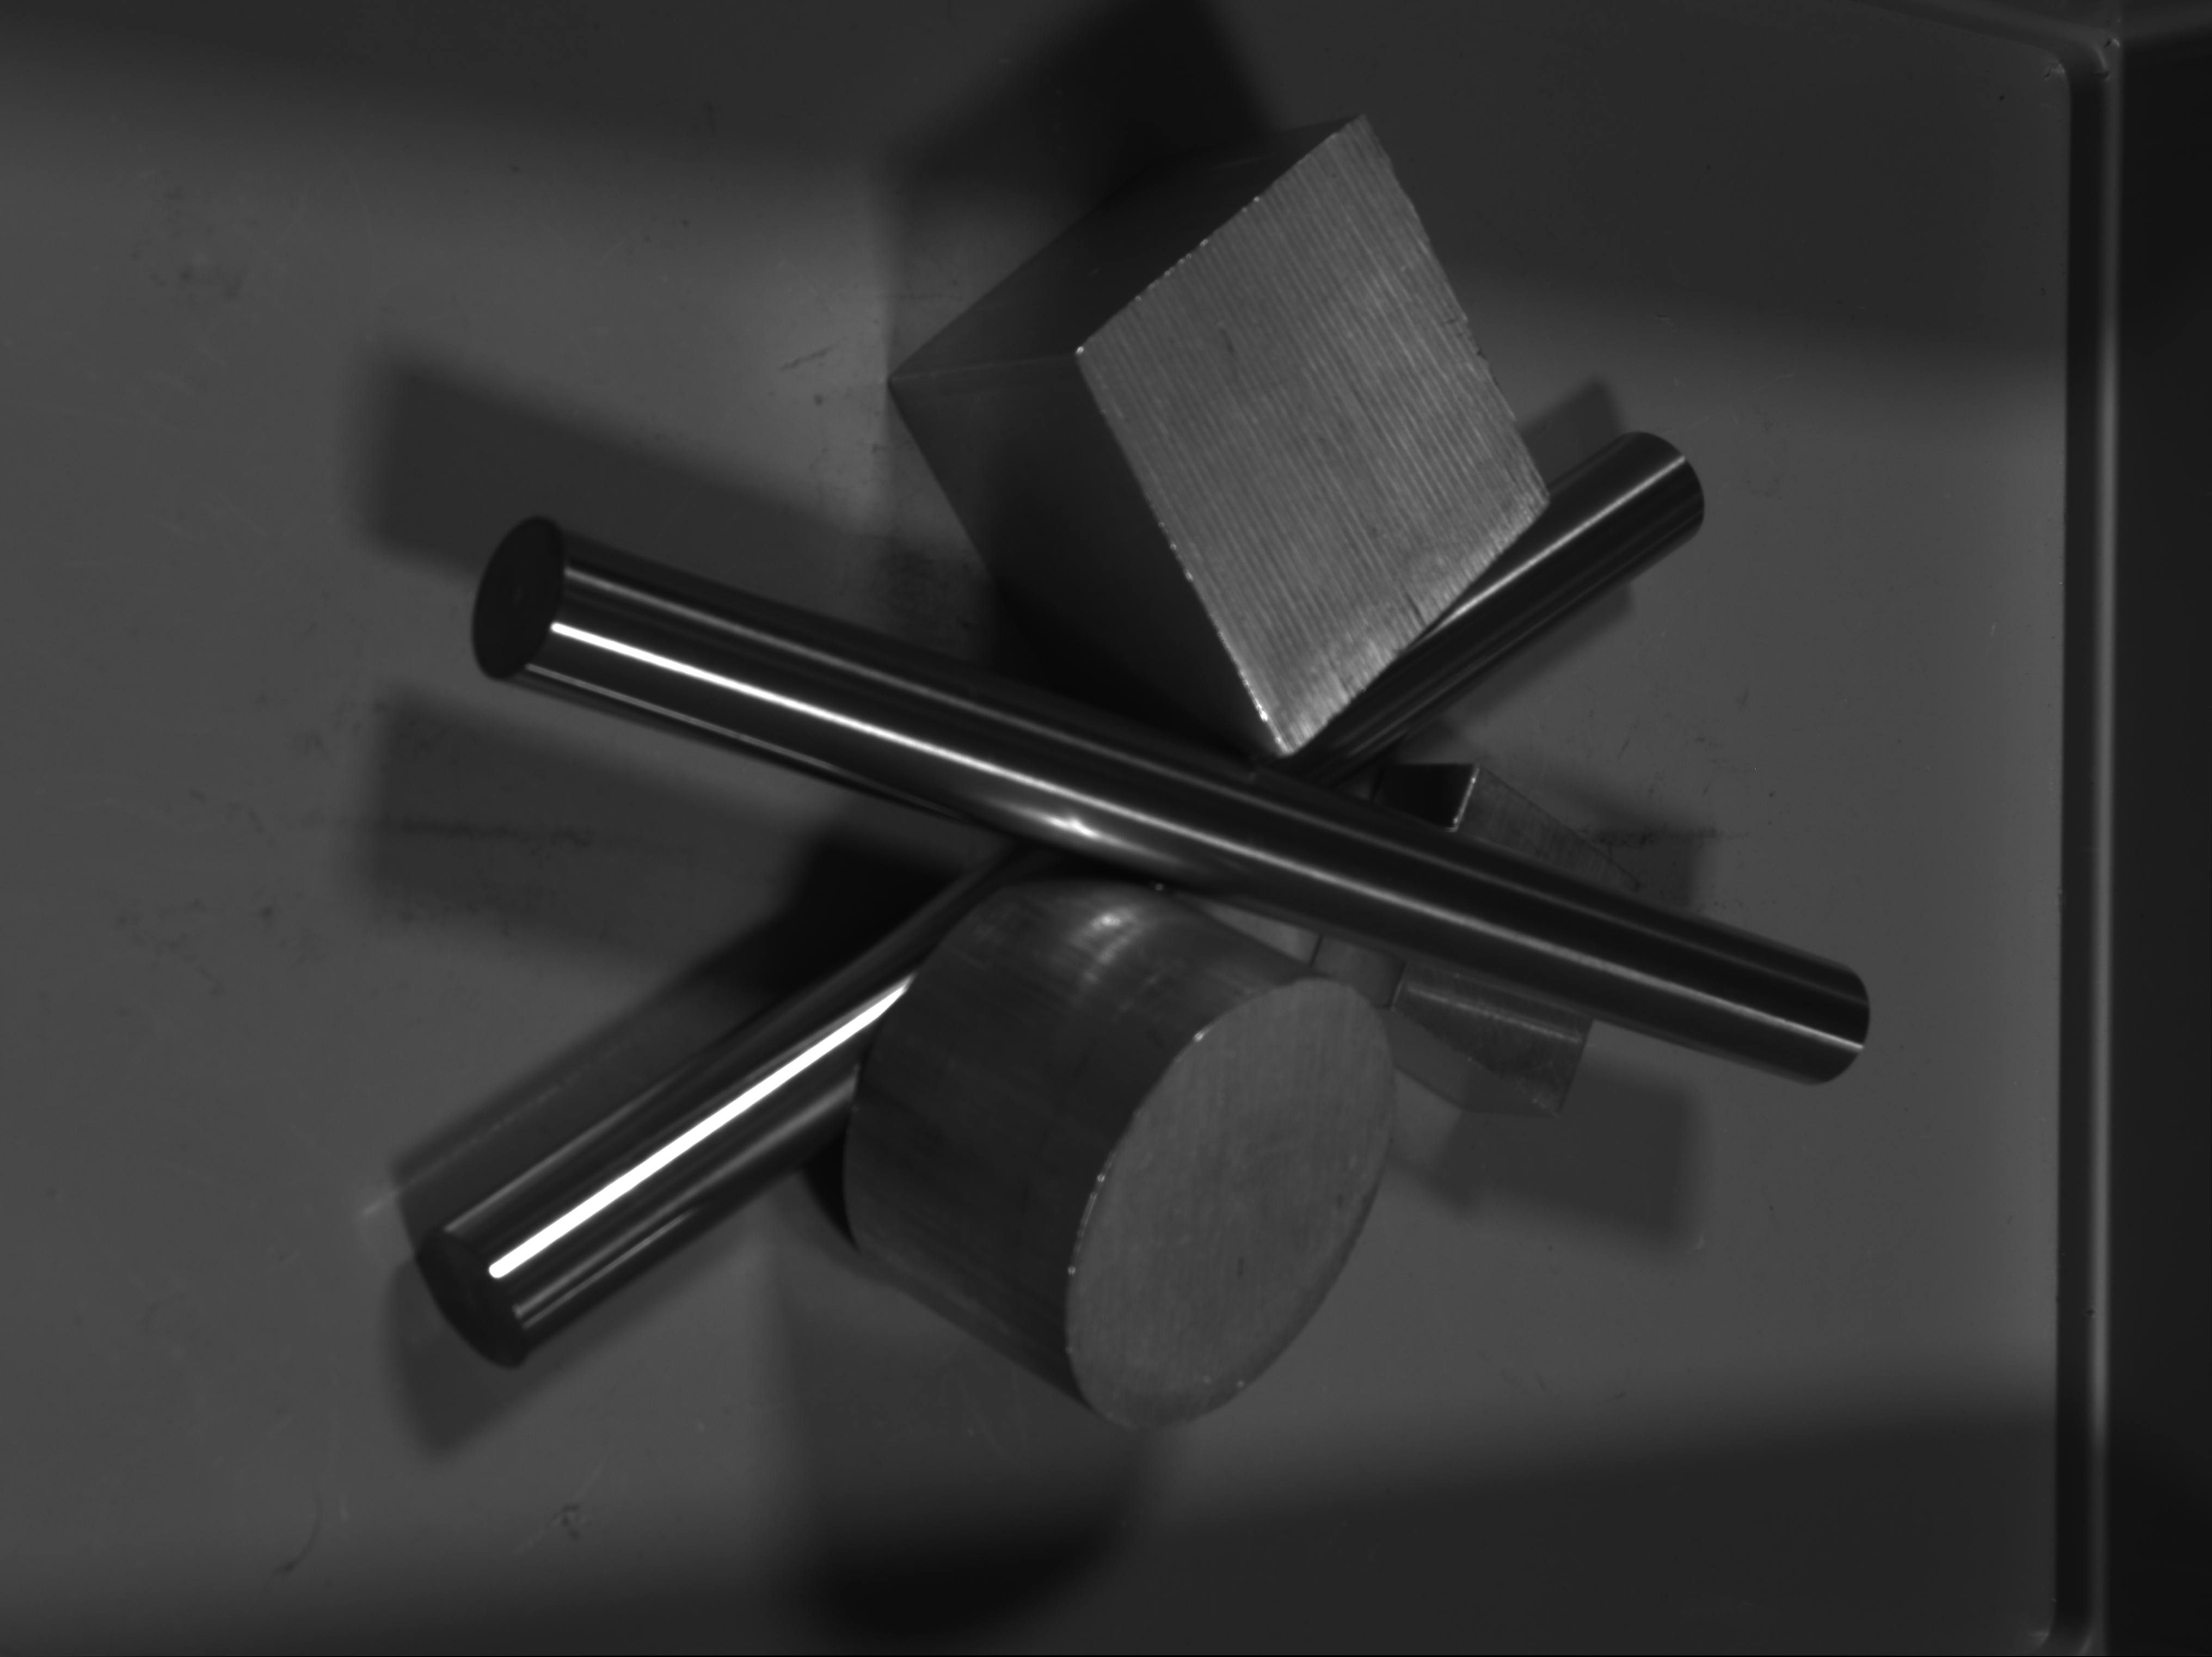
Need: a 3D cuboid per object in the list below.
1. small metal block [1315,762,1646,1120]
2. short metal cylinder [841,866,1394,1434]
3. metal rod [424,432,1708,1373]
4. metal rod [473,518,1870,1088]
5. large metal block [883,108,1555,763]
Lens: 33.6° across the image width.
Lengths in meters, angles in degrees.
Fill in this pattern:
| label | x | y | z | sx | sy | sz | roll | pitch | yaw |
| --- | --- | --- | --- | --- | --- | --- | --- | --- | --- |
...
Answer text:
| label | x | y | z | sx | sy | sz | roll | pitch | yaw |
| --- | --- | --- | --- | --- | --- | --- | --- | --- | --- |
| small metal block | 0.070 | 0.021 | 0.692 | 0.050 | 0.025 | 0.050 | 33 | 69 | -35 |
| short metal cylinder | 0.003 | 0.052 | 0.604 | 0.080 | 0.050 | 0.080 | -30 | 133 | -38 |
| metal rod | 0.007 | 0.002 | 0.641 | 0.301 | 0.025 | 0.025 | -34 | 111 | -35 |
| metal rod | 0.027 | 0.003 | 0.626 | 0.301 | 0.025 | 0.025 | 18 | 79 | -38 |
| large metal block | 0.021 | -0.067 | 0.637 | 0.080 | 0.050 | 0.080 | -43 | 116 | -31 |
